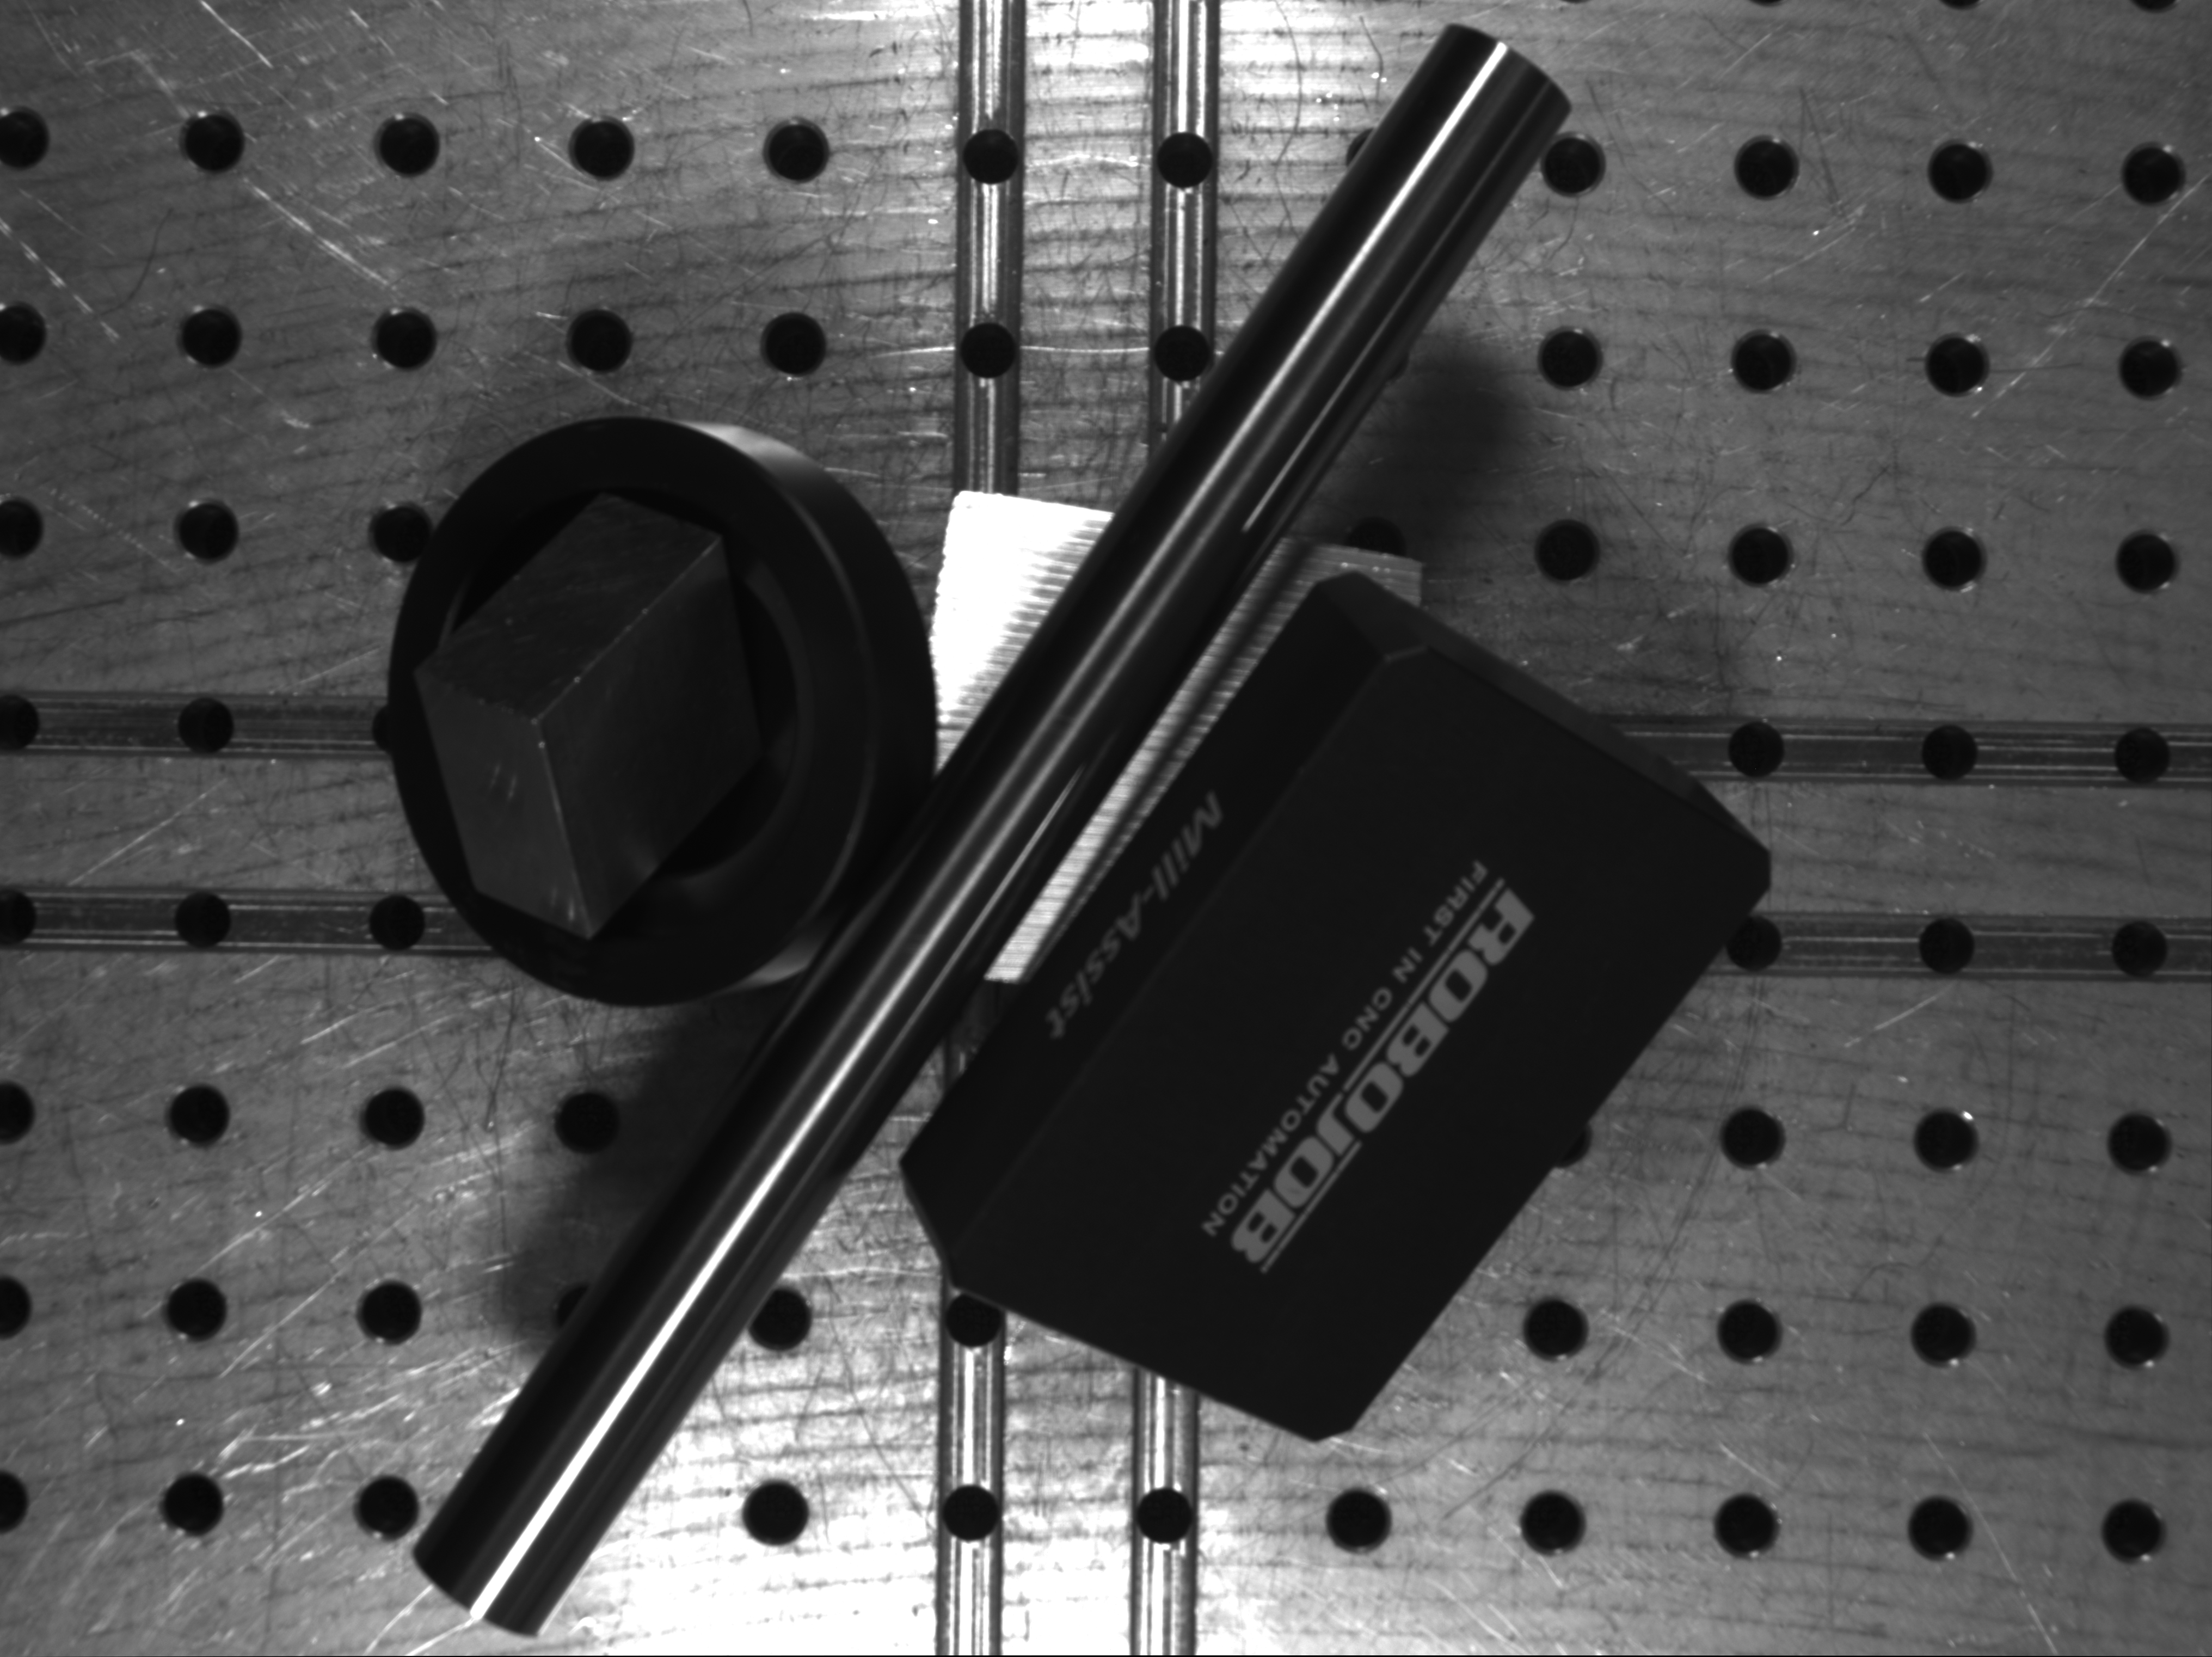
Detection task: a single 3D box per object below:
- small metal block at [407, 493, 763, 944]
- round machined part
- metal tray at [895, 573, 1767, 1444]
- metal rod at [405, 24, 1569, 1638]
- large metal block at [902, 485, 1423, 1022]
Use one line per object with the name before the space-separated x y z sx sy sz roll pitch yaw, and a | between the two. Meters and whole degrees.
small metal block | -0.085 -0.018 0.606 0.025 0.050 0.050 22 51 25
round machined part | -0.072 -0.020 0.625 0.098 0.042 0.098 1 93 25
metal tray | 0.037 0.033 0.612 0.090 0.030 0.130 28 105 -31
metal rod | -0.019 0.000 0.597 0.025 0.025 0.300 34 90 0
large metal block | 0.007 -0.011 0.635 0.080 0.050 0.080 9 90 0
